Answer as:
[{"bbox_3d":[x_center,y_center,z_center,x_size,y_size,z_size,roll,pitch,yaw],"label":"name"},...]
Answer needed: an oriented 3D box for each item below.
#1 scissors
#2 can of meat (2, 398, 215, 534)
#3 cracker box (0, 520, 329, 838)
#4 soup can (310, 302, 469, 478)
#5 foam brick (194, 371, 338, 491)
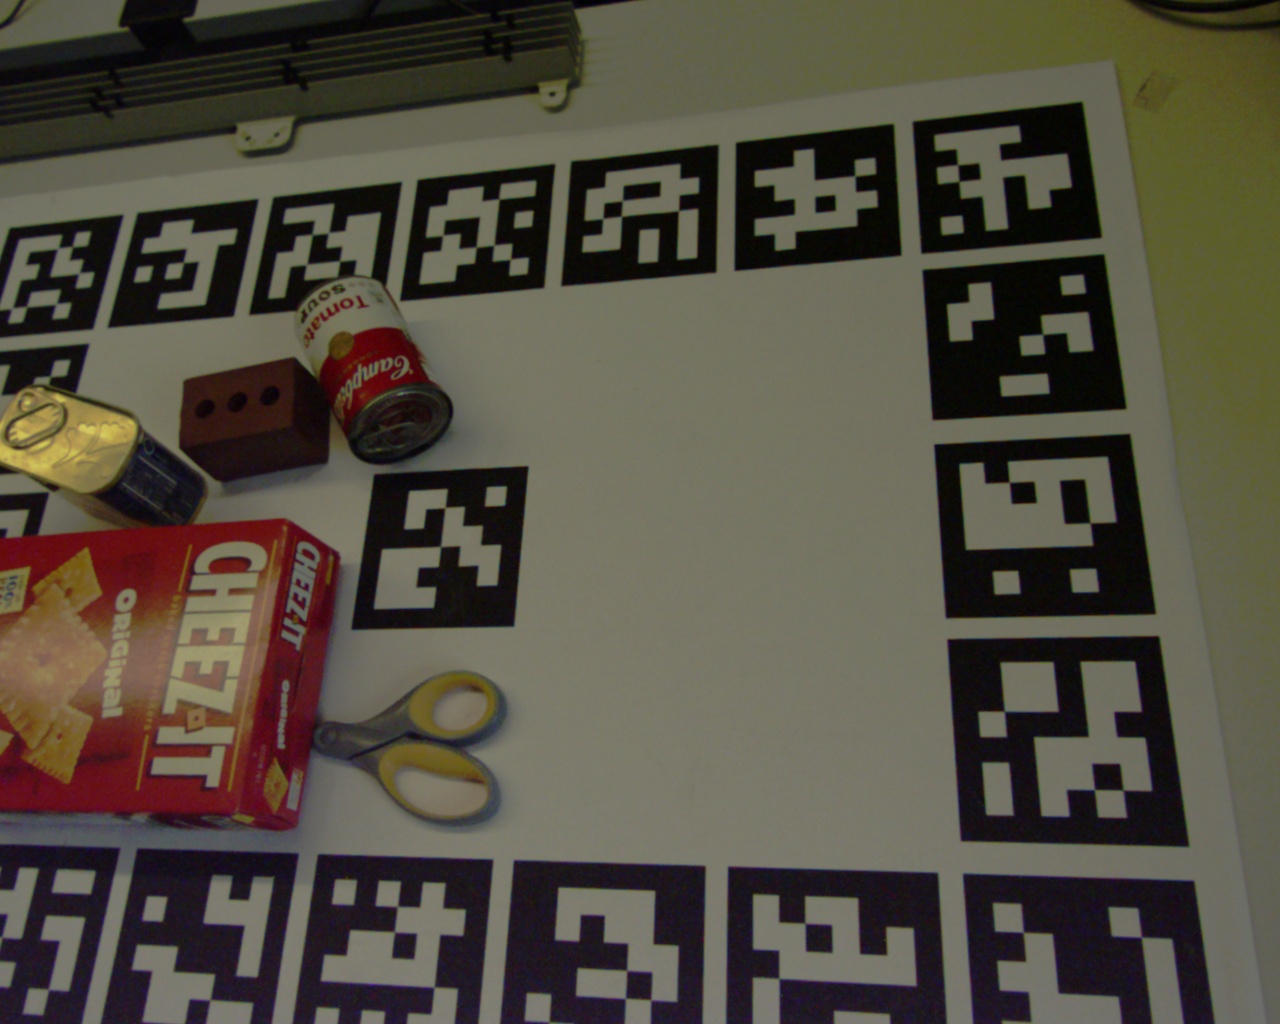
[{"bbox_3d":[-0.184,0.141,0.668,0.204,0.016,0.088,-7,68,12],"label":"scissors"},{"bbox_3d":[-0.345,-0.026,0.749,0.103,0.083,0.058,12,73,17],"label":"can of meat"},{"bbox_3d":[-0.302,0.101,0.680,0.215,0.071,0.165,-8,66,15],"label":"cracker box"},{"bbox_3d":[-0.165,-0.081,0.745,0.068,0.067,0.103,-37,60,-2],"label":"soup can"},{"bbox_3d":[-0.246,-0.053,0.755,0.078,0.051,0.053,-12,68,9],"label":"foam brick"}]
